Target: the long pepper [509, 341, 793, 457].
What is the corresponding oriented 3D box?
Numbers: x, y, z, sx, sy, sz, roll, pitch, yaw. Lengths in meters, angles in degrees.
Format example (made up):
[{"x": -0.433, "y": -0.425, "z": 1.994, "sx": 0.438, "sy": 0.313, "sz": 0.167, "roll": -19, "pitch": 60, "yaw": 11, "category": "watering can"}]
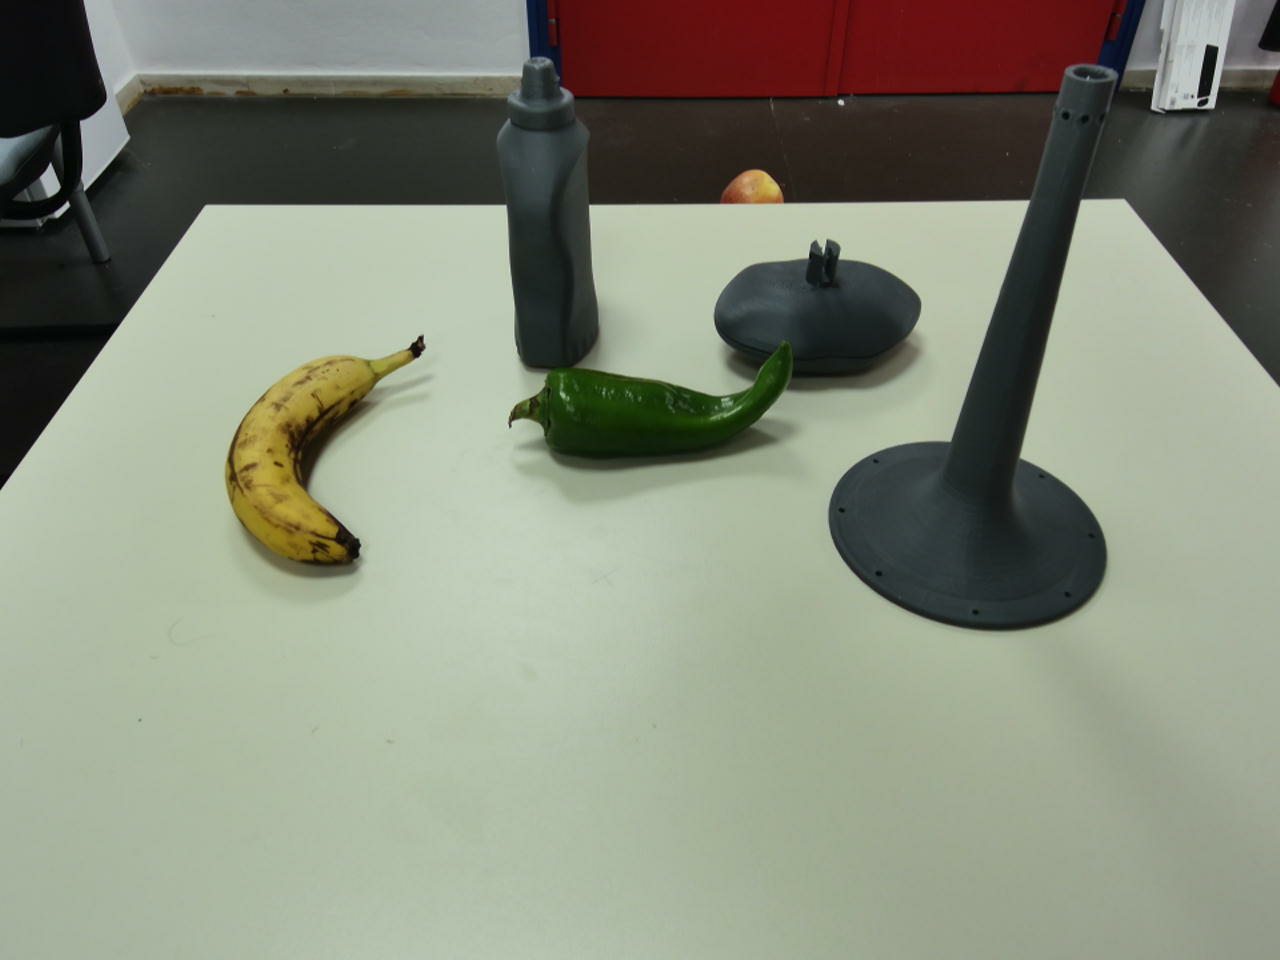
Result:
[{"x": 0.007, "y": -0.049, "z": 0.609, "sx": 0.175, "sy": 0.065, "sz": 0.058, "roll": -1, "pitch": 39, "yaw": -1, "category": "long pepper"}]
